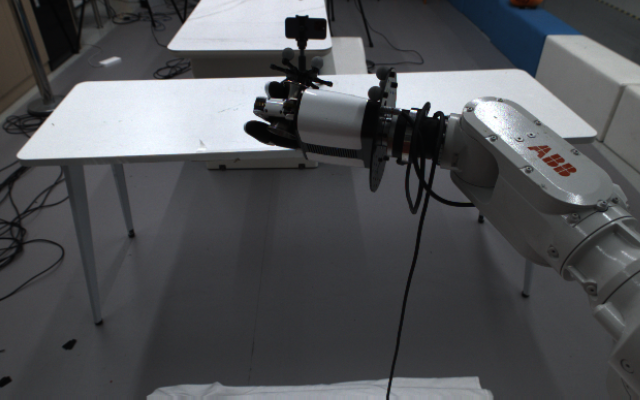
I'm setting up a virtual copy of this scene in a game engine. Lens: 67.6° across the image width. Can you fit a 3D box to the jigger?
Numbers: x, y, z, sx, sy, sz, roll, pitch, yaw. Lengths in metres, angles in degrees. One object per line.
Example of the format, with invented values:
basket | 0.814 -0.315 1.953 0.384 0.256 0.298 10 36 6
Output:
jigger | -0.041 -0.121 0.653 0.043 0.071 0.043 18 -6 2
